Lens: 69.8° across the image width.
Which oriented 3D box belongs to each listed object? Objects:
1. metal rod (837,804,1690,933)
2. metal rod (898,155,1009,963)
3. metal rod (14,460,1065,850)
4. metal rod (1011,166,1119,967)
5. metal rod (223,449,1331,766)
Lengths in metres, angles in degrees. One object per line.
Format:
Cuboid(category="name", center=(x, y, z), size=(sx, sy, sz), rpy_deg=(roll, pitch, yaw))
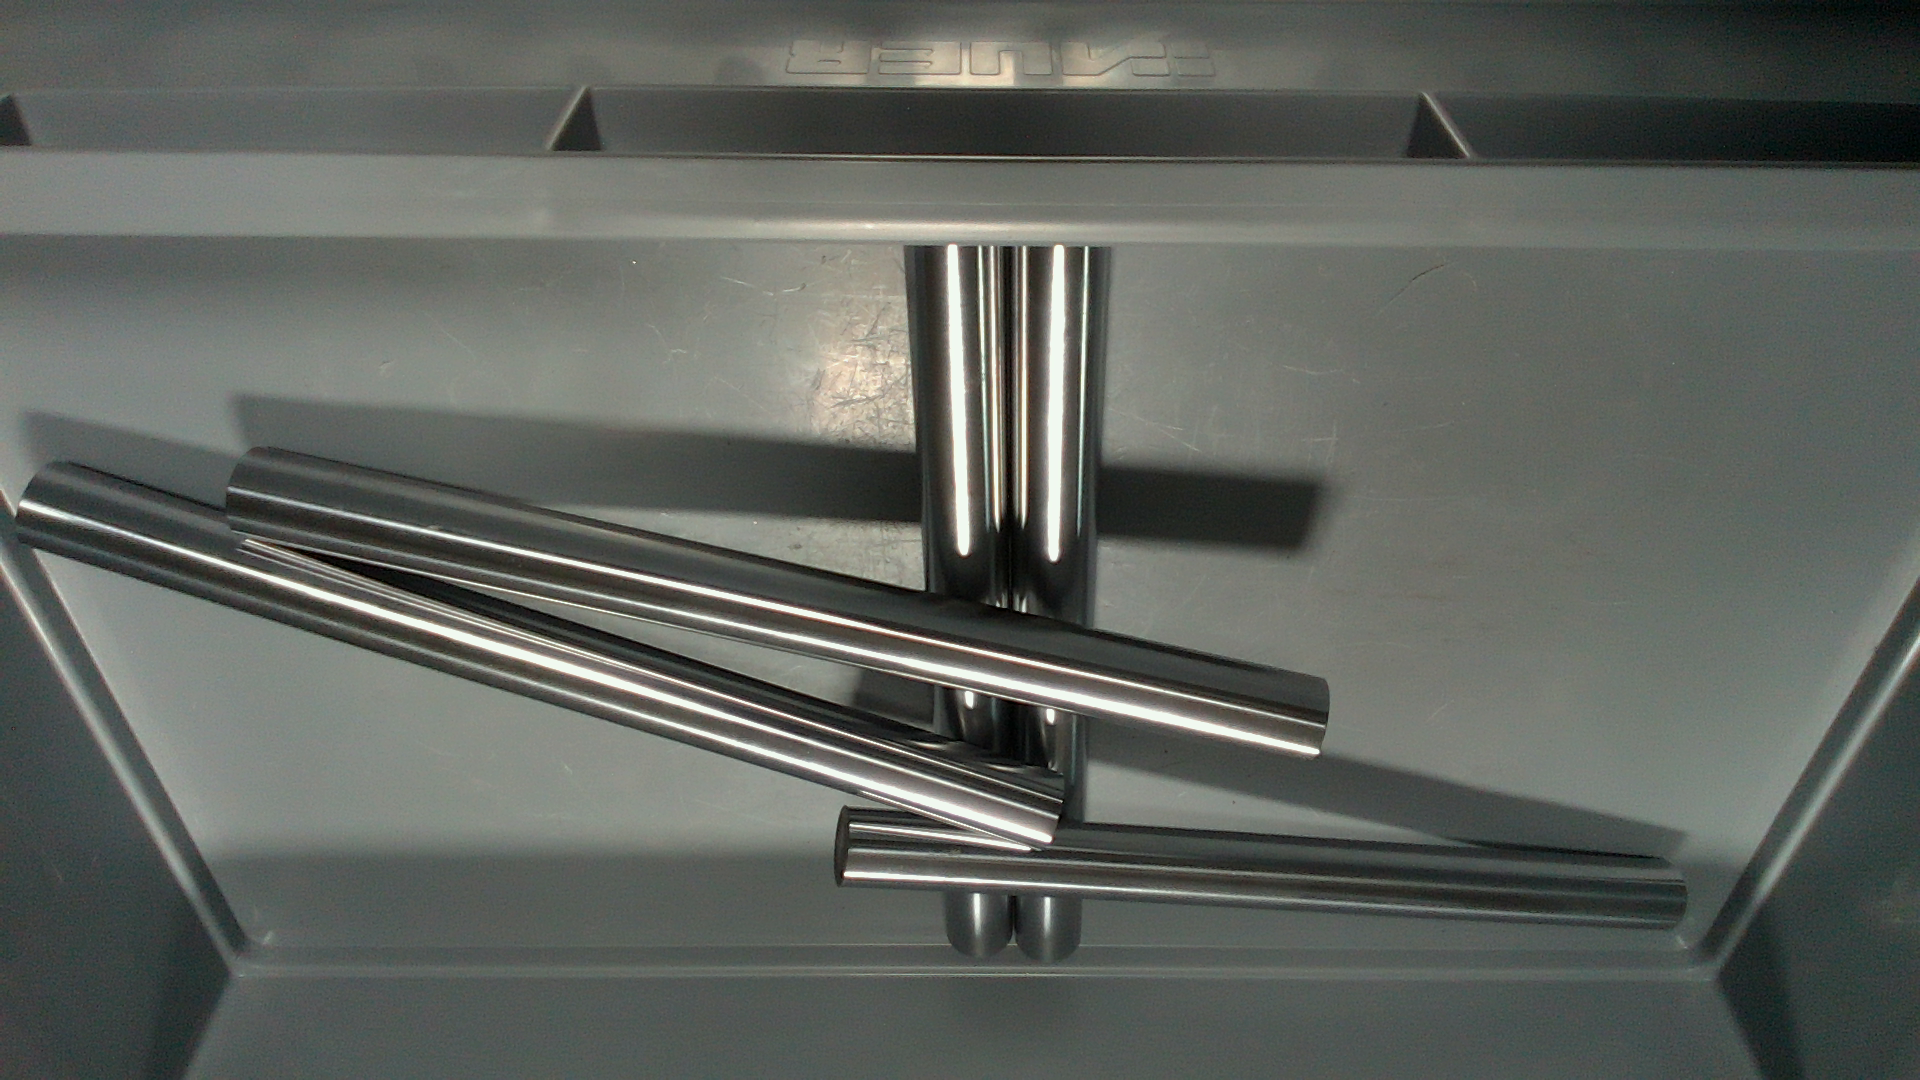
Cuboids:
Cuboid(category="metal rod", center=(0.108, 0.112, 0.462), size=(0.301, 0.025, 0.025), rpy_deg=(7, 130, -13))
Cuboid(category="metal rod", center=(0.002, 0.031, 0.414), size=(0.025, 0.025, 0.300), rpy_deg=(-1, 130, 1))
Cuboid(category="metal rod", center=(-0.113, 0.037, 0.403), size=(0.300, 0.025, 0.025), rpy_deg=(18, 128, -8))
Cuboid(category="metal rod", center=(0.028, 0.033, 0.415), size=(0.025, 0.025, 0.300), rpy_deg=(-1, 130, 1))
Cuboid(category="metal rod", center=(-0.048, 0.019, 0.379), size=(0.300, 0.025, 0.025), rpy_deg=(12, 129, -1))
